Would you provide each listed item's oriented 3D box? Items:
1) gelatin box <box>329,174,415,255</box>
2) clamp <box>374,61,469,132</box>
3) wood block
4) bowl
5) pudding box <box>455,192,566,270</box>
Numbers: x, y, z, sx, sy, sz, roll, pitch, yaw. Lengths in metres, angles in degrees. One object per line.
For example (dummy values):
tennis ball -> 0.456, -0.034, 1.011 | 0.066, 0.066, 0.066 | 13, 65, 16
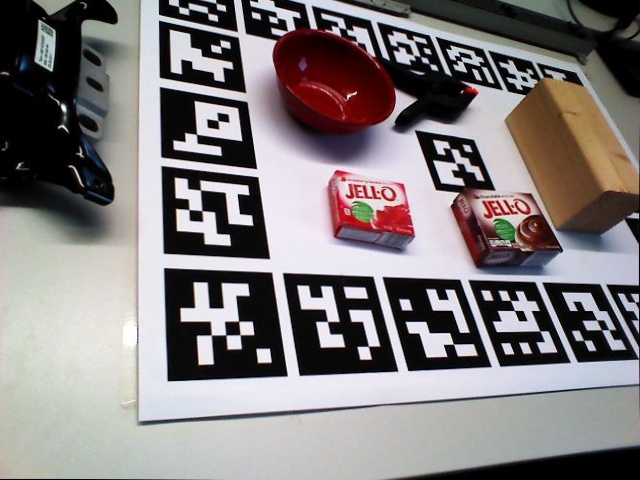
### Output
gelatin box -> 0.056, -0.028, 0.562 | 0.089, 0.030, 0.073 | 10, 57, -19
clamp -> 0.142, -0.201, 0.723 | 0.164, 0.037, 0.121 | -7, 62, -31
wood block -> 0.364, -0.115, 0.727 | 0.089, 0.091, 0.205 | 6, 58, -23
bowl -> 0.006, -0.178, 0.630 | 0.161, 0.055, 0.161 | 12, 58, -20
pudding box -> 0.229, -0.010, 0.629 | 0.113, 0.039, 0.089 | 1, 63, -22
